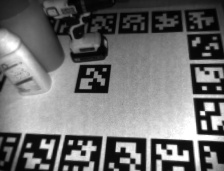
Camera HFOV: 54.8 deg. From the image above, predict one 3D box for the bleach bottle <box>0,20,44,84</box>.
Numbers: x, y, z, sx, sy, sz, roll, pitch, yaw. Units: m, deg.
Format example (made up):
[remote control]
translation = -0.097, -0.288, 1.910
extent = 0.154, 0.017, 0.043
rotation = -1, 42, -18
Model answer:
[bleach bottle]
translation = -0.274, -0.093, 0.554
extent = 0.102, 0.253, 0.067
rotation = -7, 62, 7

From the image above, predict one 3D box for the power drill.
[power drill]
translation = -0.082, -0.185, 0.606
extent = 0.184, 0.188, 0.057
rotation = -3, 65, 2

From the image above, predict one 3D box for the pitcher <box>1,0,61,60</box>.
[pitcher]
translation = -0.251, -0.174, 0.615
extent = 0.189, 0.244, 0.132
rotation = -24, 63, -2
